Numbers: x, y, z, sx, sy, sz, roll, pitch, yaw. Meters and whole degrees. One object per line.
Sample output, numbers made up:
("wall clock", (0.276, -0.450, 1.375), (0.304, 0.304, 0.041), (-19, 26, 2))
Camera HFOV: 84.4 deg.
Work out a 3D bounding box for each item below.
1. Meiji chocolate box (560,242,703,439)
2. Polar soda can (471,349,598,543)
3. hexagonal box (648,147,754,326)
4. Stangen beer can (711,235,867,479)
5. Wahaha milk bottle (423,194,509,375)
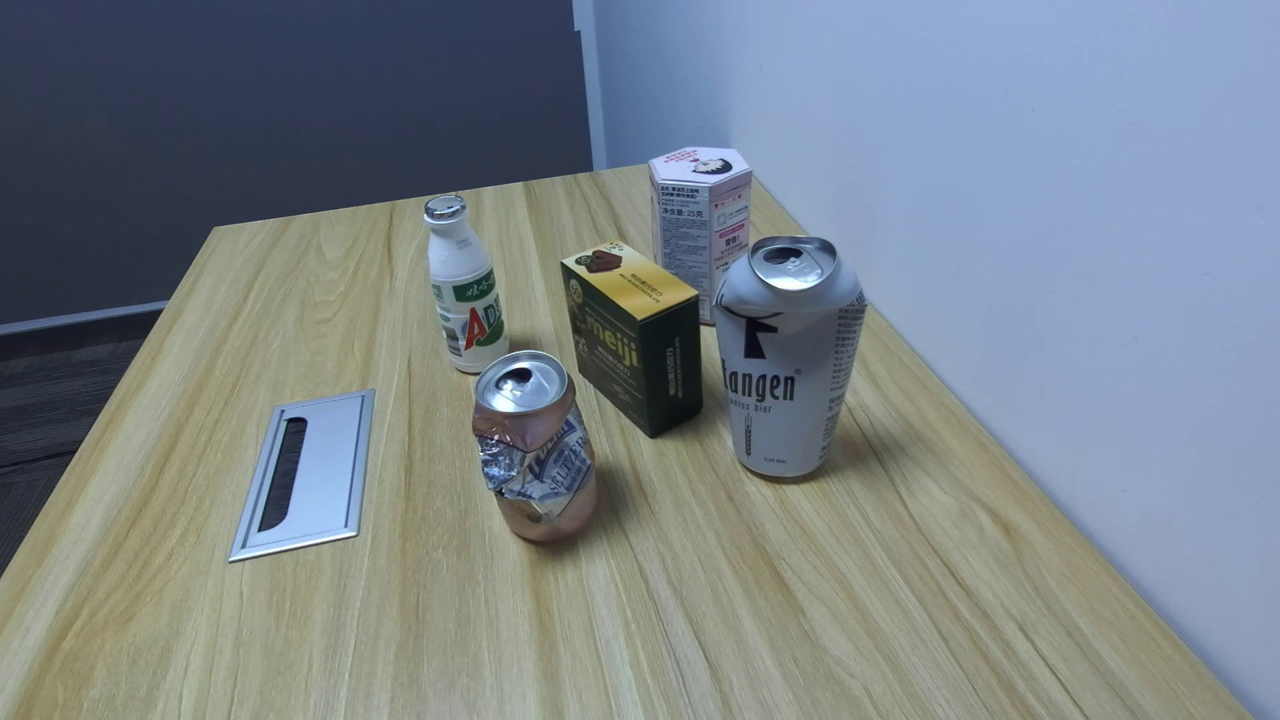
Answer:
("Meiji chocolate box", (-0.005, -0.017, 0.537), (0.056, 0.109, 0.109), (-26, 42, -24))
("Polar soda can", (-0.064, 0.057, 0.443), (0.070, 0.114, 0.074), (-19, 35, -11))
("hexagonal box", (0.051, -0.108, 0.624), (0.091, 0.136, 0.083), (-29, 44, -30))
("Stangen beer can", (0.093, 0.002, 0.453), (0.077, 0.162, 0.065), (-21, 39, -21))
("Wahaha milk bottle", (-0.143, -0.055, 0.576), (0.053, 0.137, 0.053), (-2, 38, 2))
